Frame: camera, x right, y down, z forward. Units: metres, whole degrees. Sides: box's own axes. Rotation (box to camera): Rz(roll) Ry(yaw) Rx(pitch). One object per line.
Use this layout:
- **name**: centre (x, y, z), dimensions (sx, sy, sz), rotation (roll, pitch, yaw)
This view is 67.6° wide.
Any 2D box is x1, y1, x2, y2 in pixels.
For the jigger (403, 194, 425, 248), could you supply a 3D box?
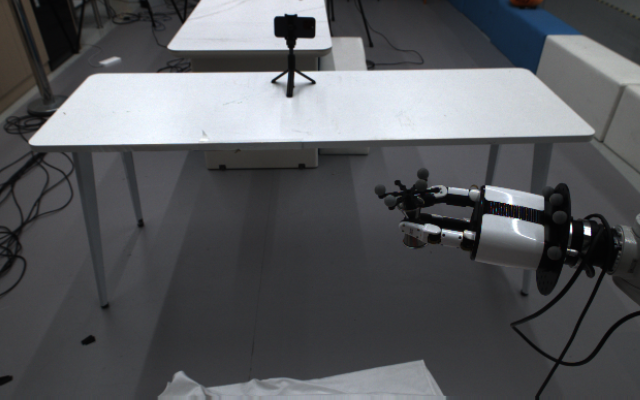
- **jigger**: centre (0.141, 0.032, 0.726), dimensions (0.043, 0.071, 0.043), rotation (-12, 29, 7)
